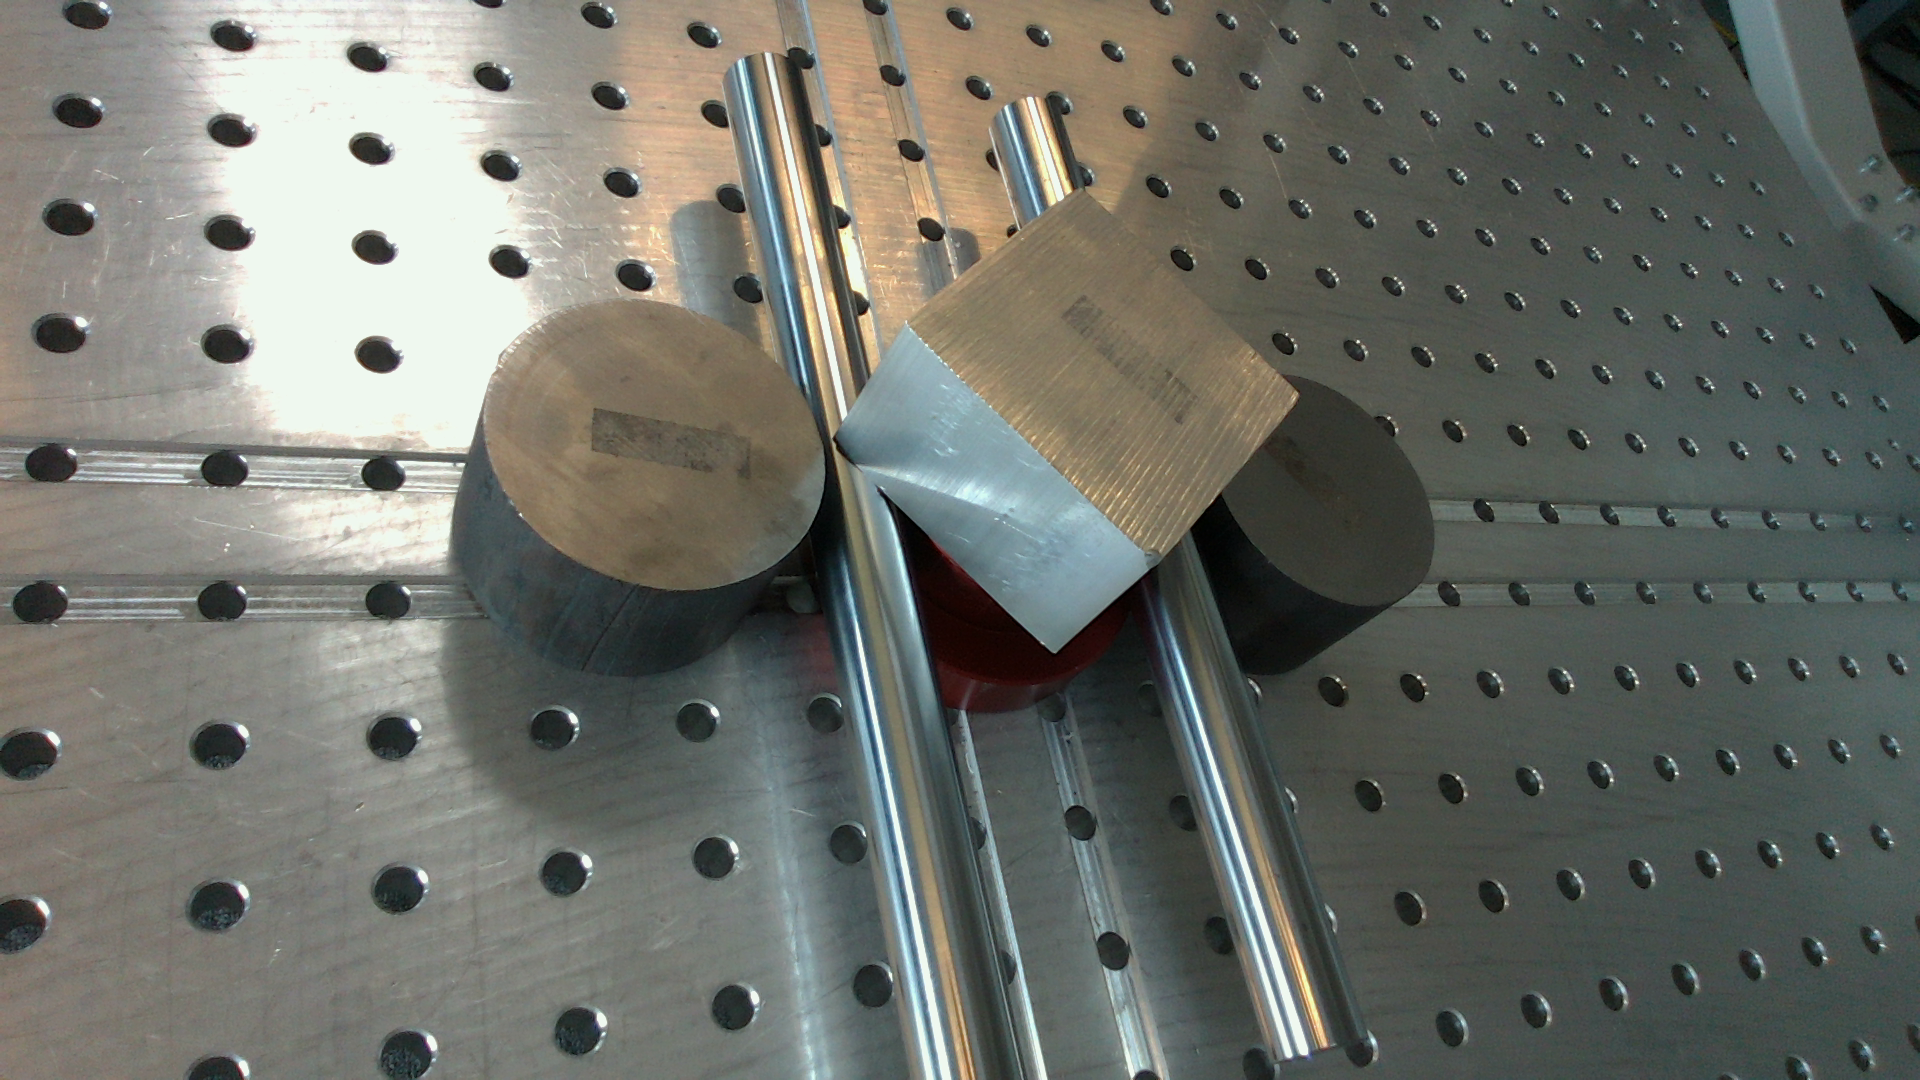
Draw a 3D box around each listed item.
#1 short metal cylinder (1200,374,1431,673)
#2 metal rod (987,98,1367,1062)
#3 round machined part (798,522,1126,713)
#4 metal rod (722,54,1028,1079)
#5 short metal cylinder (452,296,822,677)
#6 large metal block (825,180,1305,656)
[{"bbox_3d":[0.099,-0.005,0.432,0.080,0.050,0.080,14,56,-21],"label":"short metal cylinder"},{"bbox_3d":[0.054,-0.007,0.399,0.025,0.025,0.300,0,62,-28],"label":"metal rod"},{"bbox_3d":[0.007,-0.005,0.389,0.098,0.042,0.098,14,56,-21],"label":"round machined part"},{"bbox_3d":[-0.028,-0.006,0.354,0.025,0.025,0.300,1,61,-28],"label":"metal rod"},{"bbox_3d":[-0.080,-0.013,0.341,0.080,0.050,0.080,14,56,-21],"label":"short metal cylinder"},{"bbox_3d":[0.028,-0.032,0.350,0.080,0.050,0.080,44,51,2],"label":"large metal block"}]
